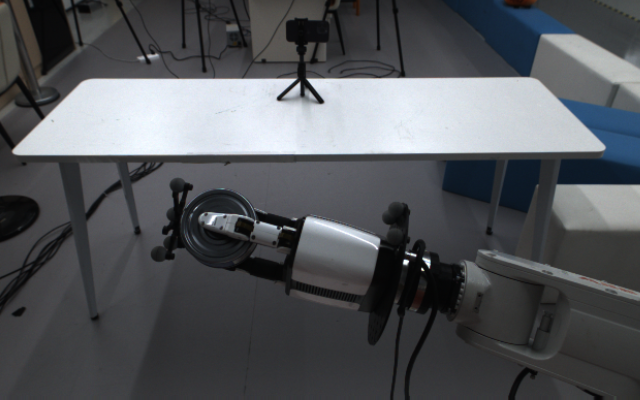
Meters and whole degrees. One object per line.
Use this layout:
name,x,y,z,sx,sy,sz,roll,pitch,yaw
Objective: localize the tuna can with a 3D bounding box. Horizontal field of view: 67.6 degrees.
tuna can,-0.108,0.030,0.538,0.085,0.034,0.085,1,73,-4
